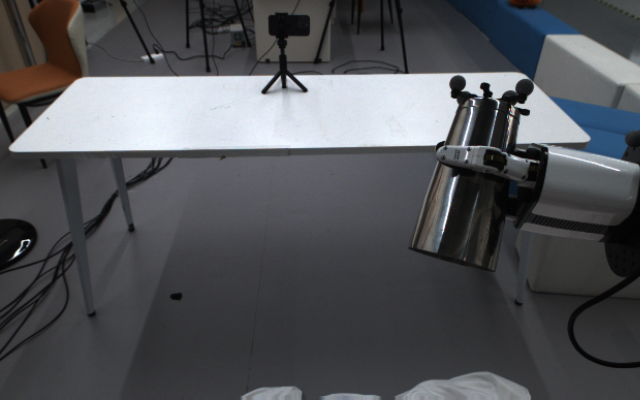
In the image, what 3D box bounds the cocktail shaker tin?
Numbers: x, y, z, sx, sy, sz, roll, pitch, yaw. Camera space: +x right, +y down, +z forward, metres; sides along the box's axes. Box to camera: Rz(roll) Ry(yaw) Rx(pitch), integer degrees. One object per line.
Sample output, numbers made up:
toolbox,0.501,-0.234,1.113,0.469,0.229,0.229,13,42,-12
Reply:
cocktail shaker tin,0.162,-0.018,0.520,0.093,0.170,0.093,16,-6,2
